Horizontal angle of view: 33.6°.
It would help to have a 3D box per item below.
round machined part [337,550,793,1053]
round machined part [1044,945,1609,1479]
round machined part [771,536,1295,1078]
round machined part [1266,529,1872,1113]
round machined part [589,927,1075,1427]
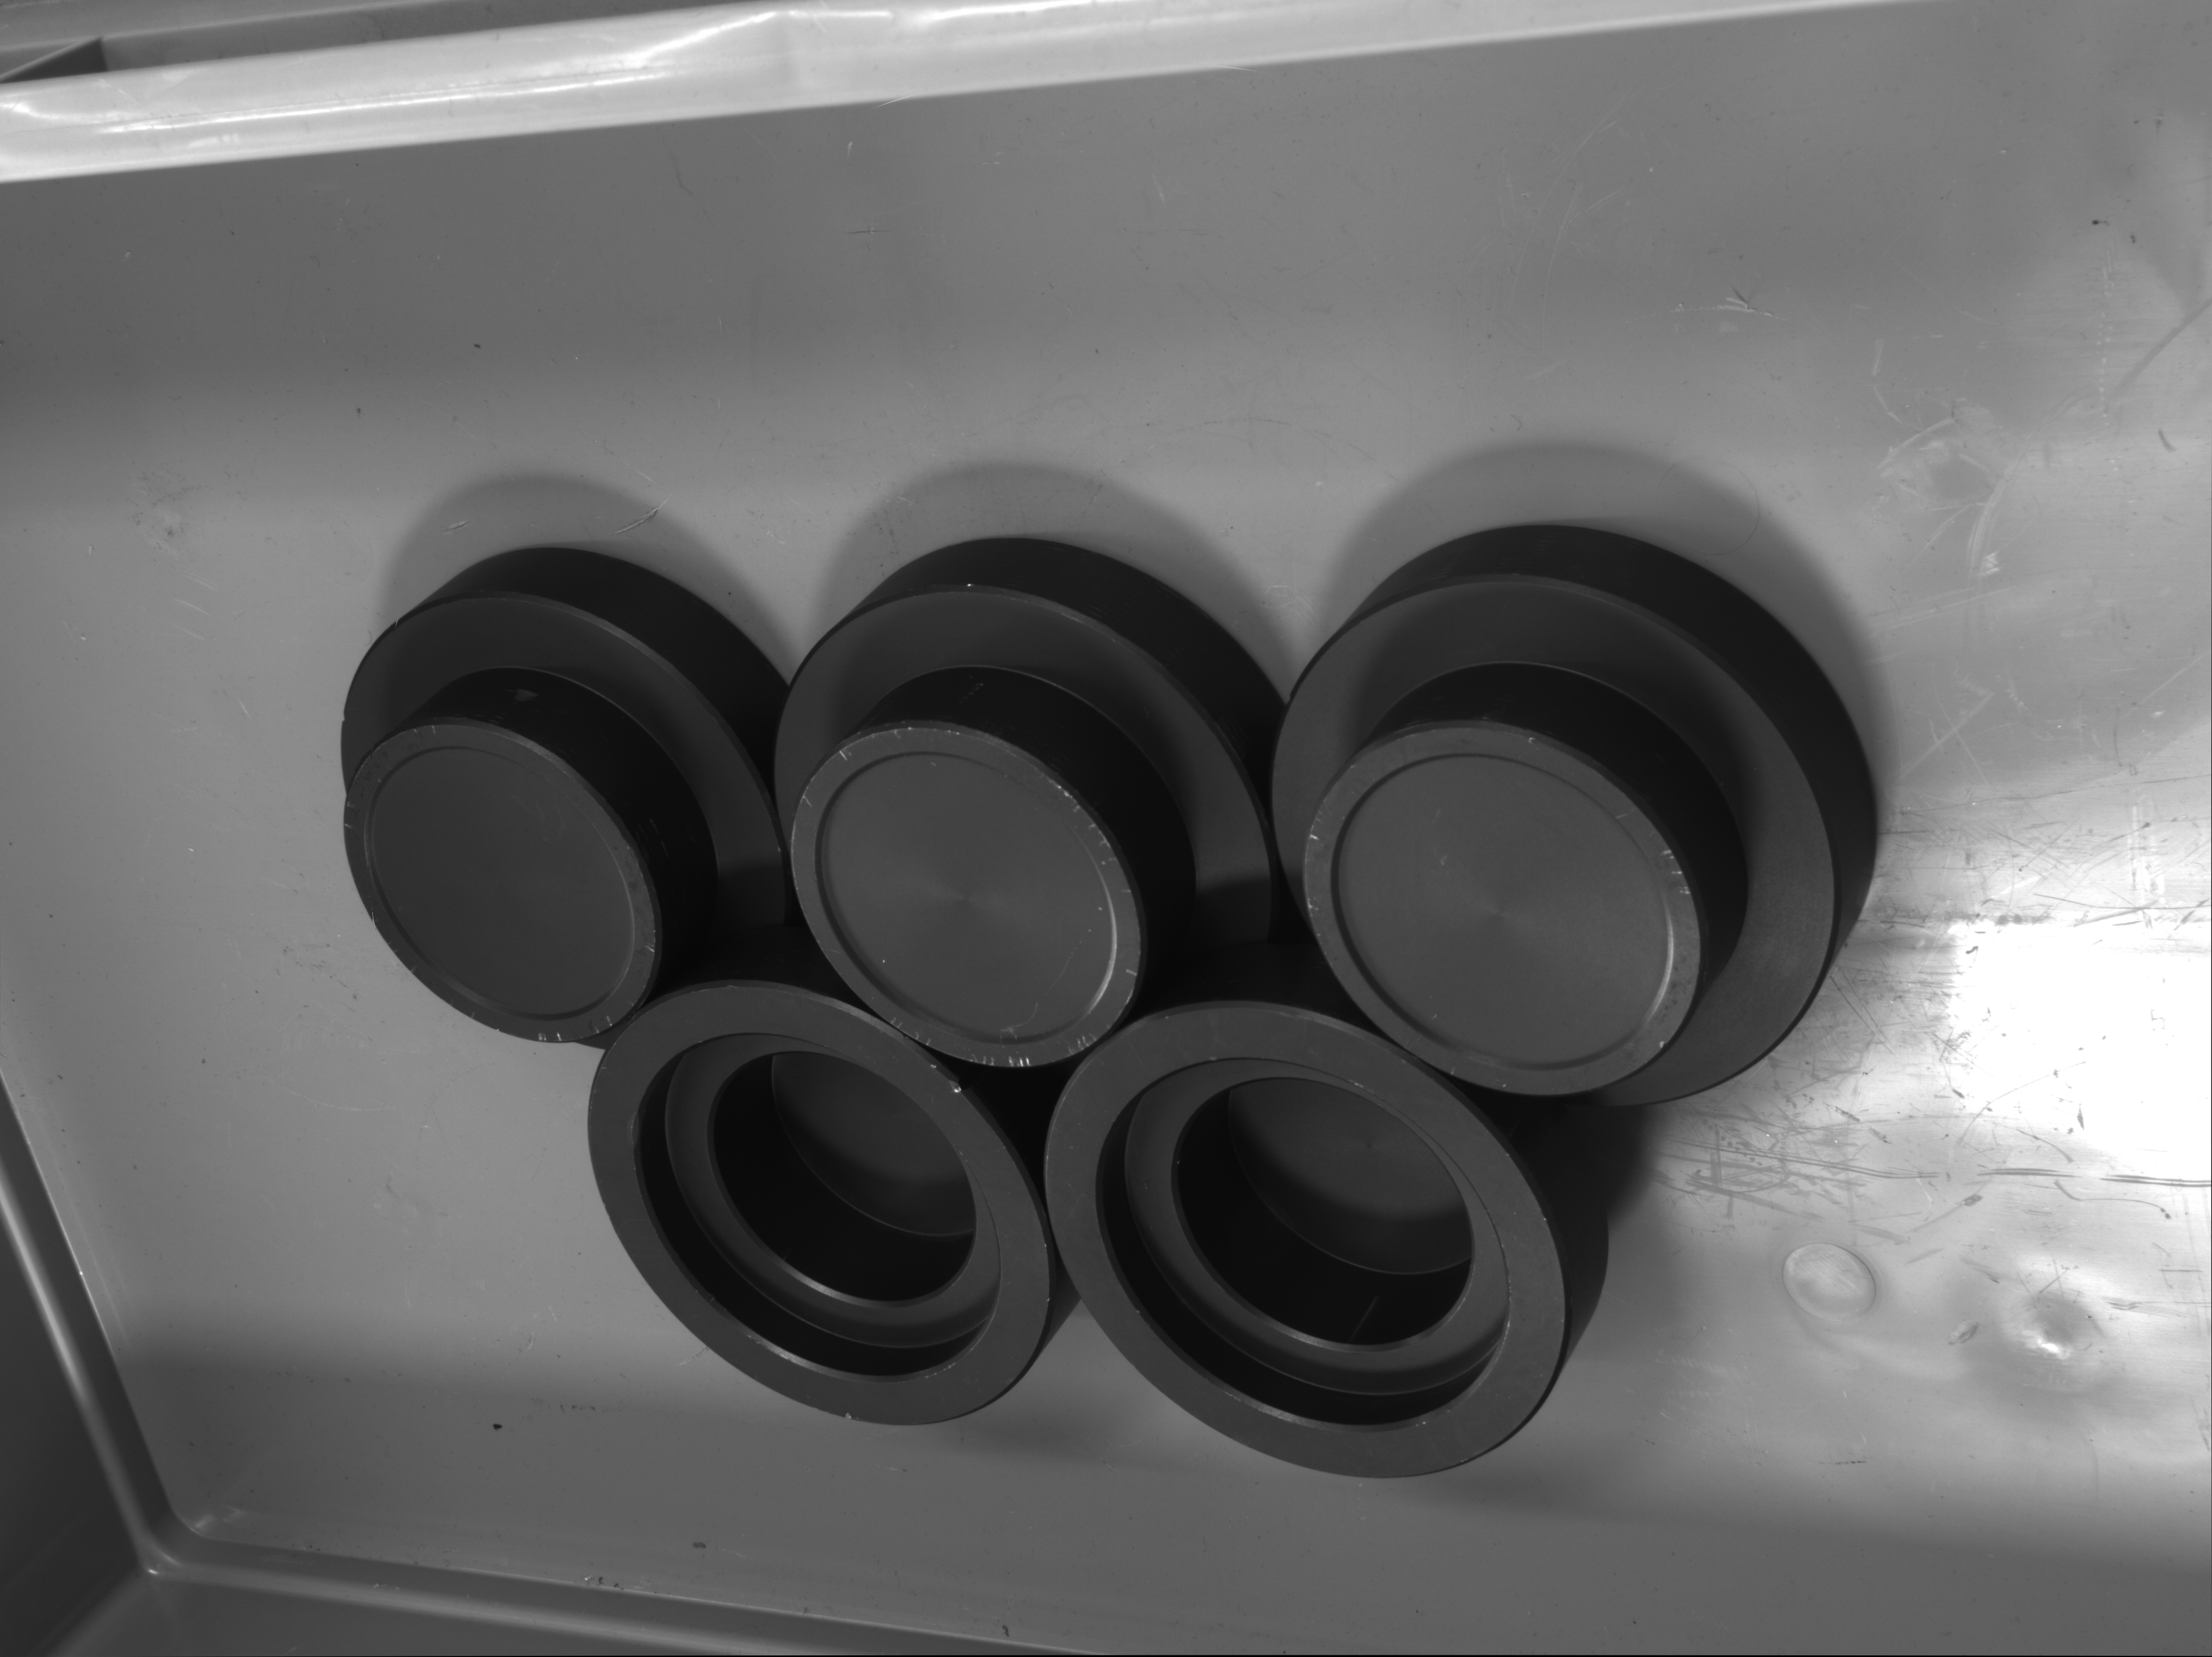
[{"bbox_3d":[-0.103,0.001,0.684,0.098,0.042,0.098,12,122,21],"label":"round machined part"},{"bbox_3d":[0.042,0.063,0.645,0.098,0.042,0.098,13,124,21],"label":"round machined part"},{"bbox_3d":[-0.016,0.002,0.639,0.098,0.042,0.098,14,123,22],"label":"round machined part"},{"bbox_3d":[0.070,0.005,0.594,0.098,0.042,0.098,14,123,22],"label":"round machined part"},{"bbox_3d":[-0.045,0.061,0.691,0.098,0.042,0.098,13,124,21],"label":"round machined part"}]
